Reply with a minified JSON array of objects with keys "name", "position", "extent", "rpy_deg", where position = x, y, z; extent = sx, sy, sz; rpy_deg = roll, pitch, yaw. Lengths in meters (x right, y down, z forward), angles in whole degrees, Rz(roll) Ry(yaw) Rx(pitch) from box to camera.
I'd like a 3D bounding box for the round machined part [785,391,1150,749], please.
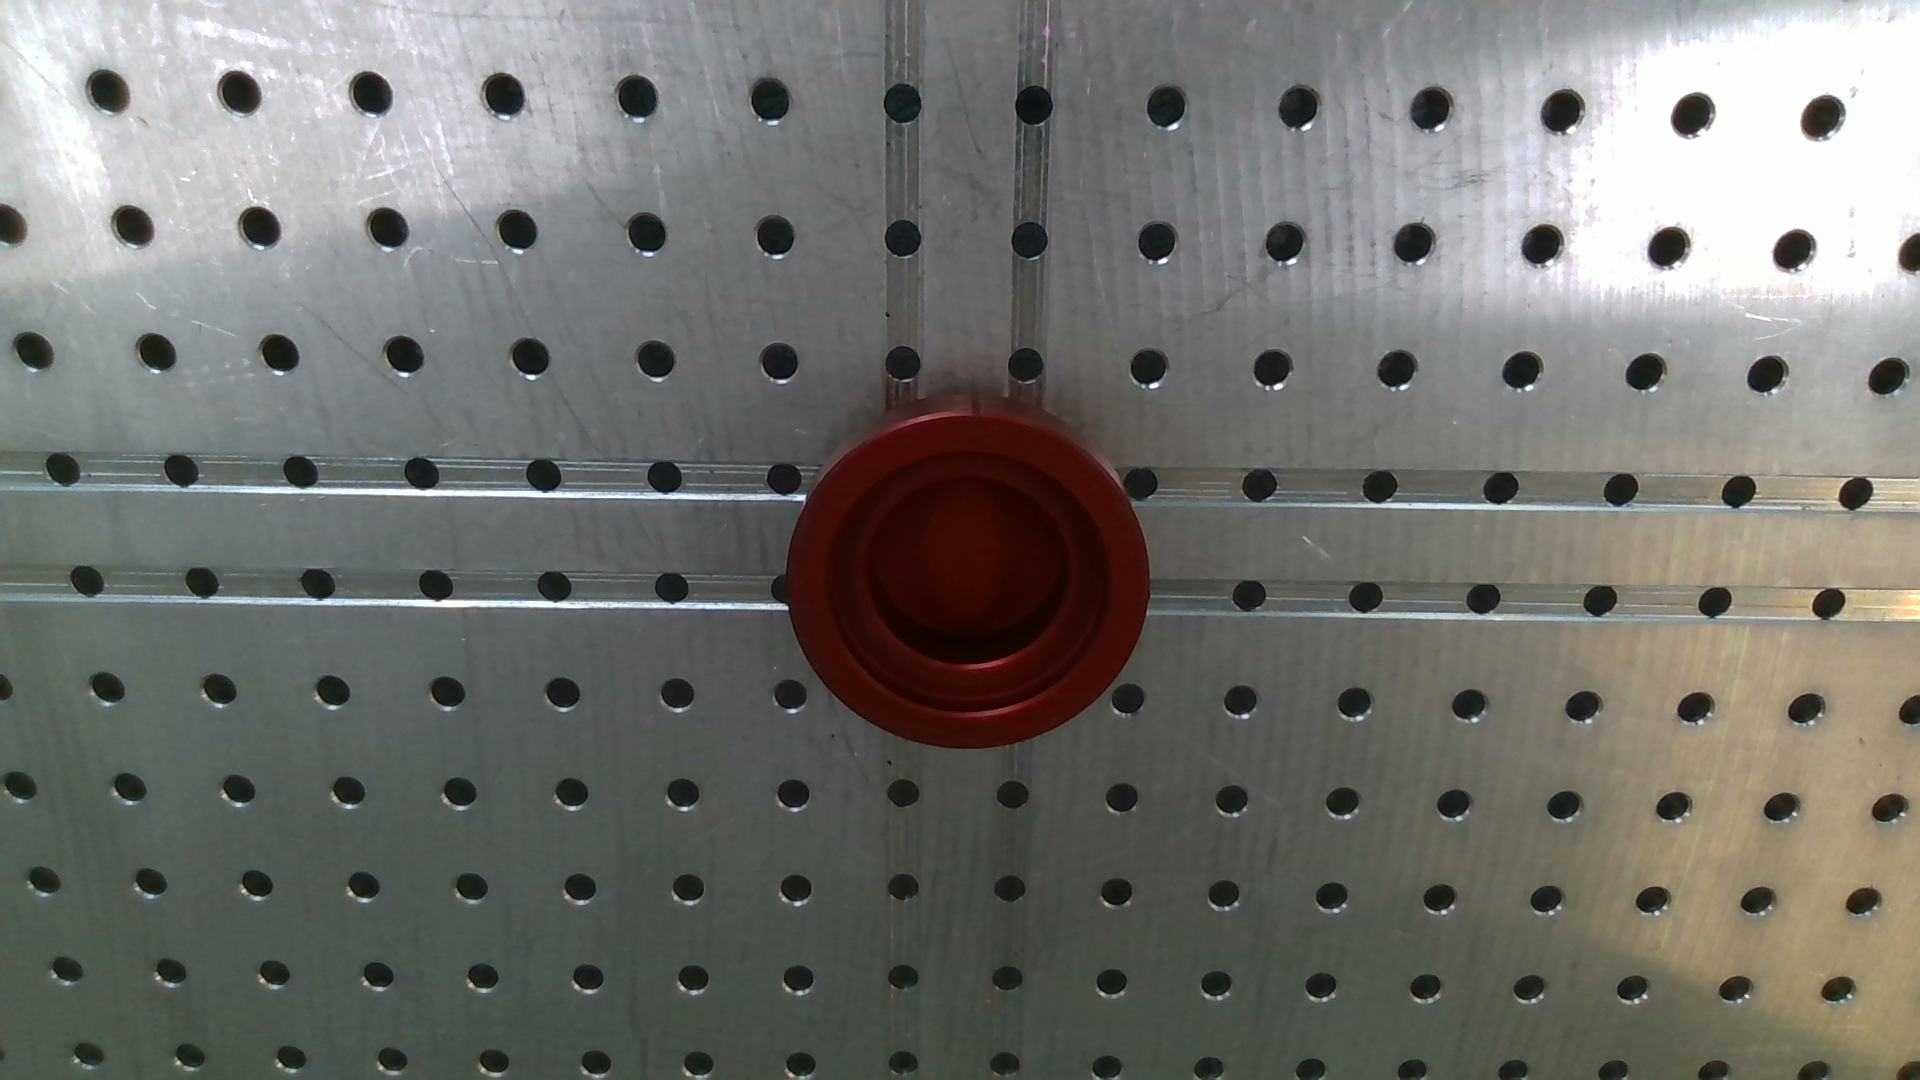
[{"name":"round machined part","position":[0.002,0.006,0.388],"extent":[0.098,0.042,0.098],"rpy_deg":[0,110,0]}]
